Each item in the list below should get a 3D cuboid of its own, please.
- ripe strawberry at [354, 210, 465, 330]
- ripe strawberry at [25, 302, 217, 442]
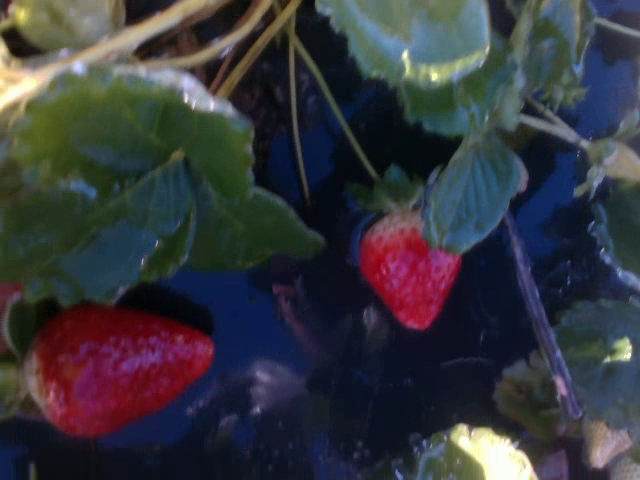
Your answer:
[{"bbox_3d":[0.033,0.011,0.200,0.039,0.047,0.040,-15,23,-21],"label":"ripe strawberry"},{"bbox_3d":[-0.055,0.043,0.189,0.056,0.044,0.040,-5,30,-26],"label":"ripe strawberry"}]
